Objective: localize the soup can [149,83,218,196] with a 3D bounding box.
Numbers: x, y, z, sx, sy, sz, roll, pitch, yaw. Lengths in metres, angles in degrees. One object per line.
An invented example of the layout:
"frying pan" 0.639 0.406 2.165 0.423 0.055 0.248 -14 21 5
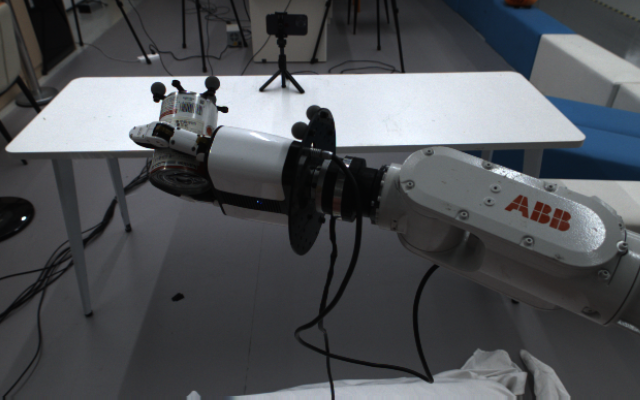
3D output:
"soup can" -0.155 -0.065 0.559 0.067 0.067 0.101 1 68 -1
